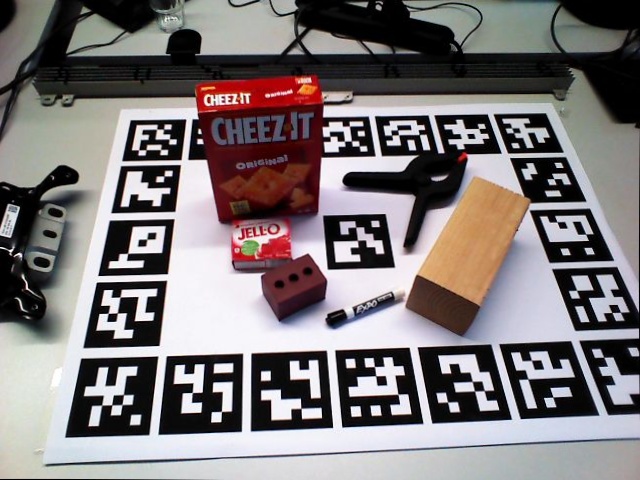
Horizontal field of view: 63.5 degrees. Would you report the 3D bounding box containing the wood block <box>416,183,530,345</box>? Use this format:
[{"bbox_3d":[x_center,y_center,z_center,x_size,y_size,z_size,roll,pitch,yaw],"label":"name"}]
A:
[{"bbox_3d":[0.225,0.028,0.722,0.090,0.091,0.205,28,57,19],"label":"wood block"}]

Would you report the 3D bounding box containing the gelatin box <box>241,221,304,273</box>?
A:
[{"bbox_3d":[-0.070,0.010,0.761,0.089,0.030,0.073,-2,58,-3],"label":"gelatin box"}]

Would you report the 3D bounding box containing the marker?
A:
[{"bbox_3d":[0.064,0.102,0.706,0.121,0.020,0.019,-18,61,-13],"label":"marker"}]

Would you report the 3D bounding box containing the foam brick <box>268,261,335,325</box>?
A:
[{"bbox_3d":[-0.026,0.070,0.707,0.078,0.051,0.052,-22,62,-15],"label":"foam brick"}]

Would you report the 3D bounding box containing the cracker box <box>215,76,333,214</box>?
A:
[{"bbox_3d":[-0.057,-0.128,0.734,0.164,0.214,0.071,-3,55,-6],"label":"cracker box"}]

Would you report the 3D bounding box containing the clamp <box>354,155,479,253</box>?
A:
[{"bbox_3d":[0.180,-0.083,0.822,0.202,0.037,0.165,-28,62,-18],"label":"clamp"}]
